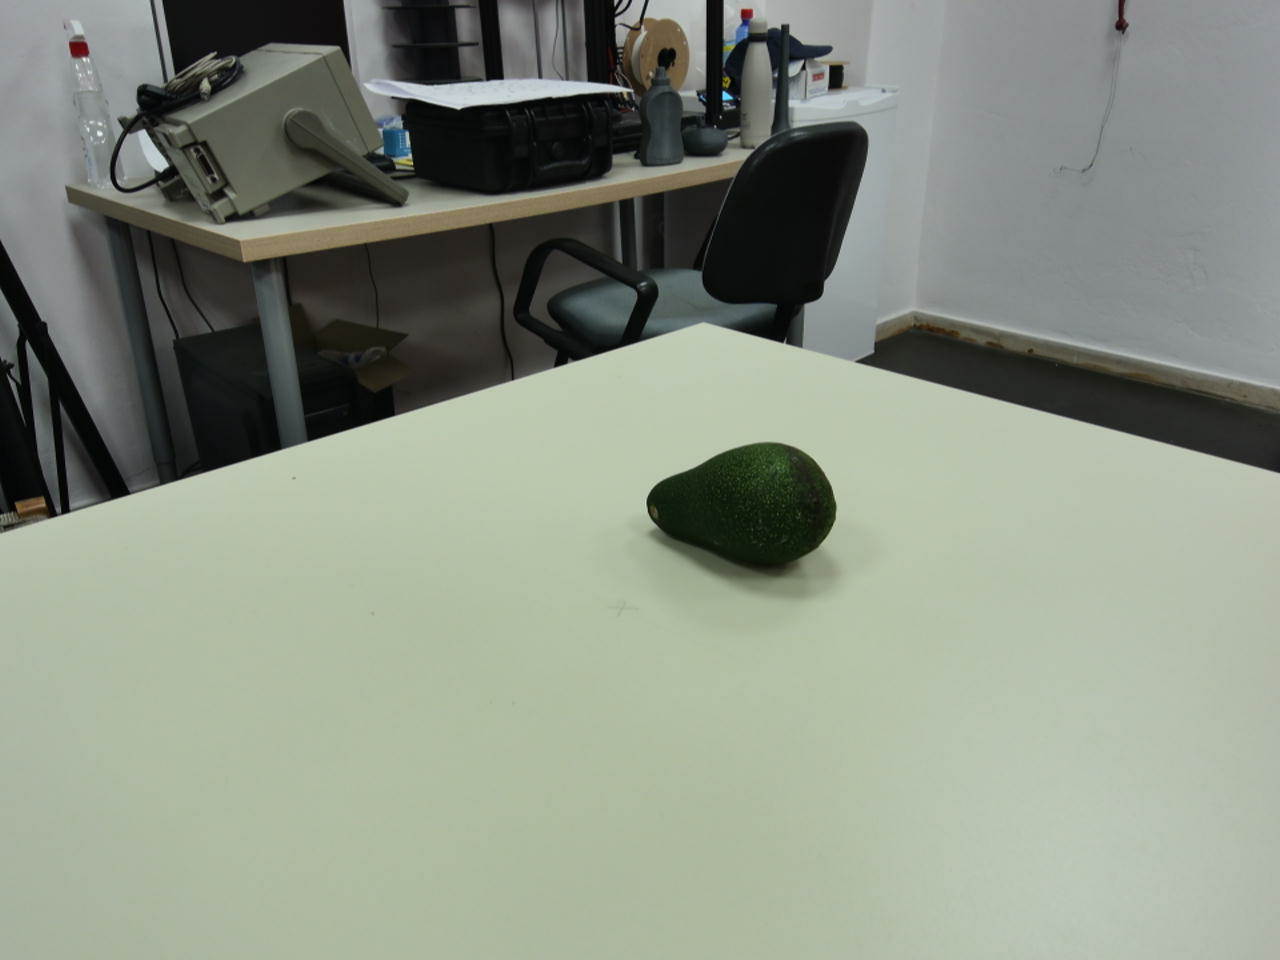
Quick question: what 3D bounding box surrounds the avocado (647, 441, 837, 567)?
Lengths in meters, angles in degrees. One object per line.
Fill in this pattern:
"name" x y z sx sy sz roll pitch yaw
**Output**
"avocado" 0.065 0.009 0.610 0.074 0.076 0.123 -17 29 -32
